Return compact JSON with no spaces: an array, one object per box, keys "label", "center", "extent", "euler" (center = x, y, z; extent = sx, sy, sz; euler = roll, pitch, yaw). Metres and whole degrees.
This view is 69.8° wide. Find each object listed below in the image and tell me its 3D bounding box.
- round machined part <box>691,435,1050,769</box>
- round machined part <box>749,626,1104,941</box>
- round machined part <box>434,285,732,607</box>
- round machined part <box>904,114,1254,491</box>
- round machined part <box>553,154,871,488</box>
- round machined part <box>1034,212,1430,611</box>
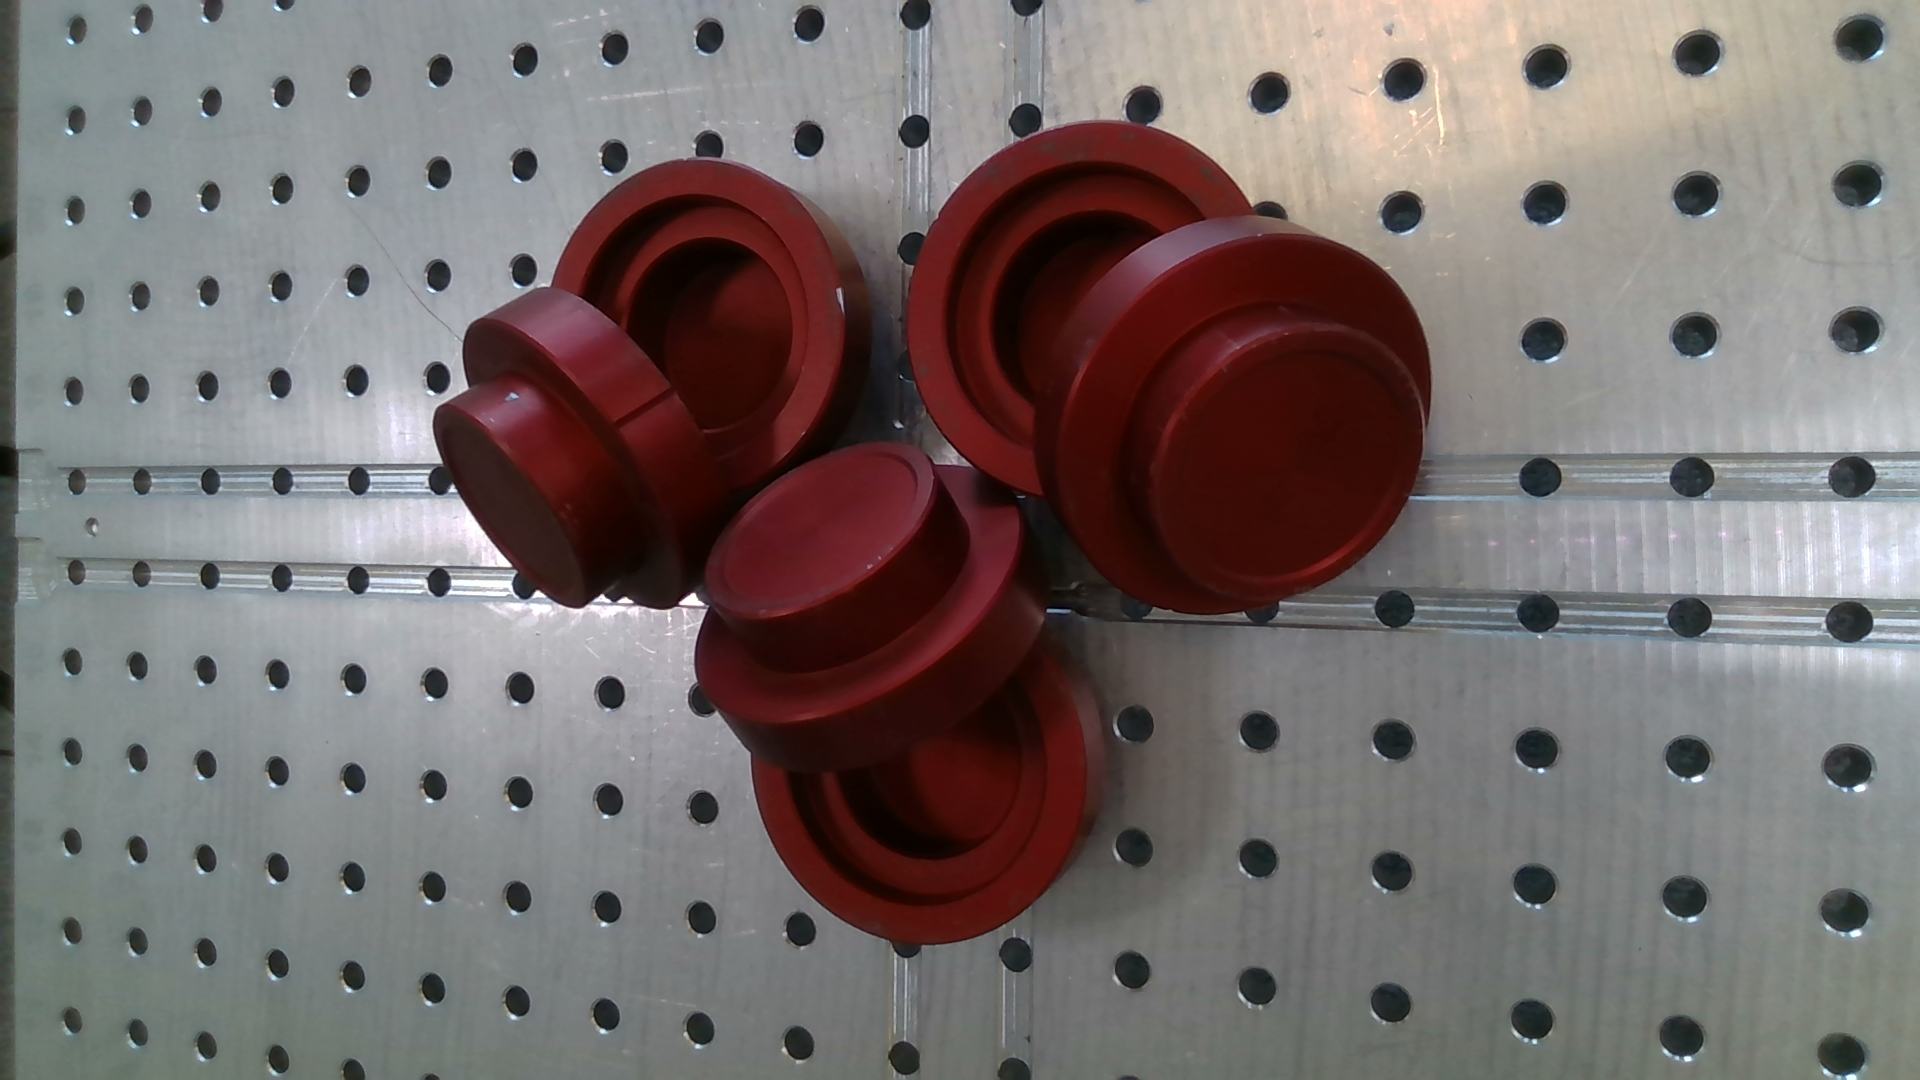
[{"label":"round machined part","center":[-0.029,0.009,0.366],"extent":[0.098,0.098,0.042],"euler":[-15,127,20]},{"label":"round machined part","center":[-0.007,0.059,0.390],"extent":[0.098,0.042,0.098],"euler":[0,90,20]},{"label":"round machined part","center":[-0.113,-0.020,0.398],"extent":[0.098,0.042,0.098],"euler":[33,146,27]},{"label":"round machined part","center":[0.038,-0.060,0.372],"extent":[0.098,0.042,0.098],"euler":[0,90,20]},{"label":"round machined part","center":[-0.071,-0.061,0.412],"extent":[0.098,0.042,0.098],"euler":[0,90,20]},{"label":"round machined part","center":[0.070,-0.026,0.332],"extent":[0.098,0.042,0.098],"euler":[-7,118,-14]}]
